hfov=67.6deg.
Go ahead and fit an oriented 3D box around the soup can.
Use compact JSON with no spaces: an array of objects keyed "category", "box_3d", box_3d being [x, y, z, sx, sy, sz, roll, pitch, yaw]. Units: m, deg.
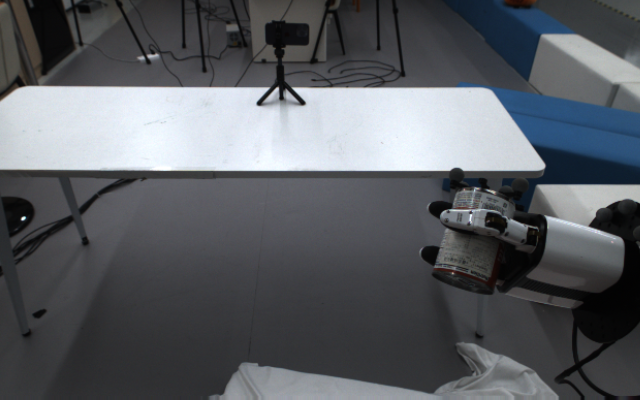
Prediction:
[{"category":"soup can","box_3d":[0.171,0.042,0.538,0.067,0.067,0.101,16,75,19]}]
